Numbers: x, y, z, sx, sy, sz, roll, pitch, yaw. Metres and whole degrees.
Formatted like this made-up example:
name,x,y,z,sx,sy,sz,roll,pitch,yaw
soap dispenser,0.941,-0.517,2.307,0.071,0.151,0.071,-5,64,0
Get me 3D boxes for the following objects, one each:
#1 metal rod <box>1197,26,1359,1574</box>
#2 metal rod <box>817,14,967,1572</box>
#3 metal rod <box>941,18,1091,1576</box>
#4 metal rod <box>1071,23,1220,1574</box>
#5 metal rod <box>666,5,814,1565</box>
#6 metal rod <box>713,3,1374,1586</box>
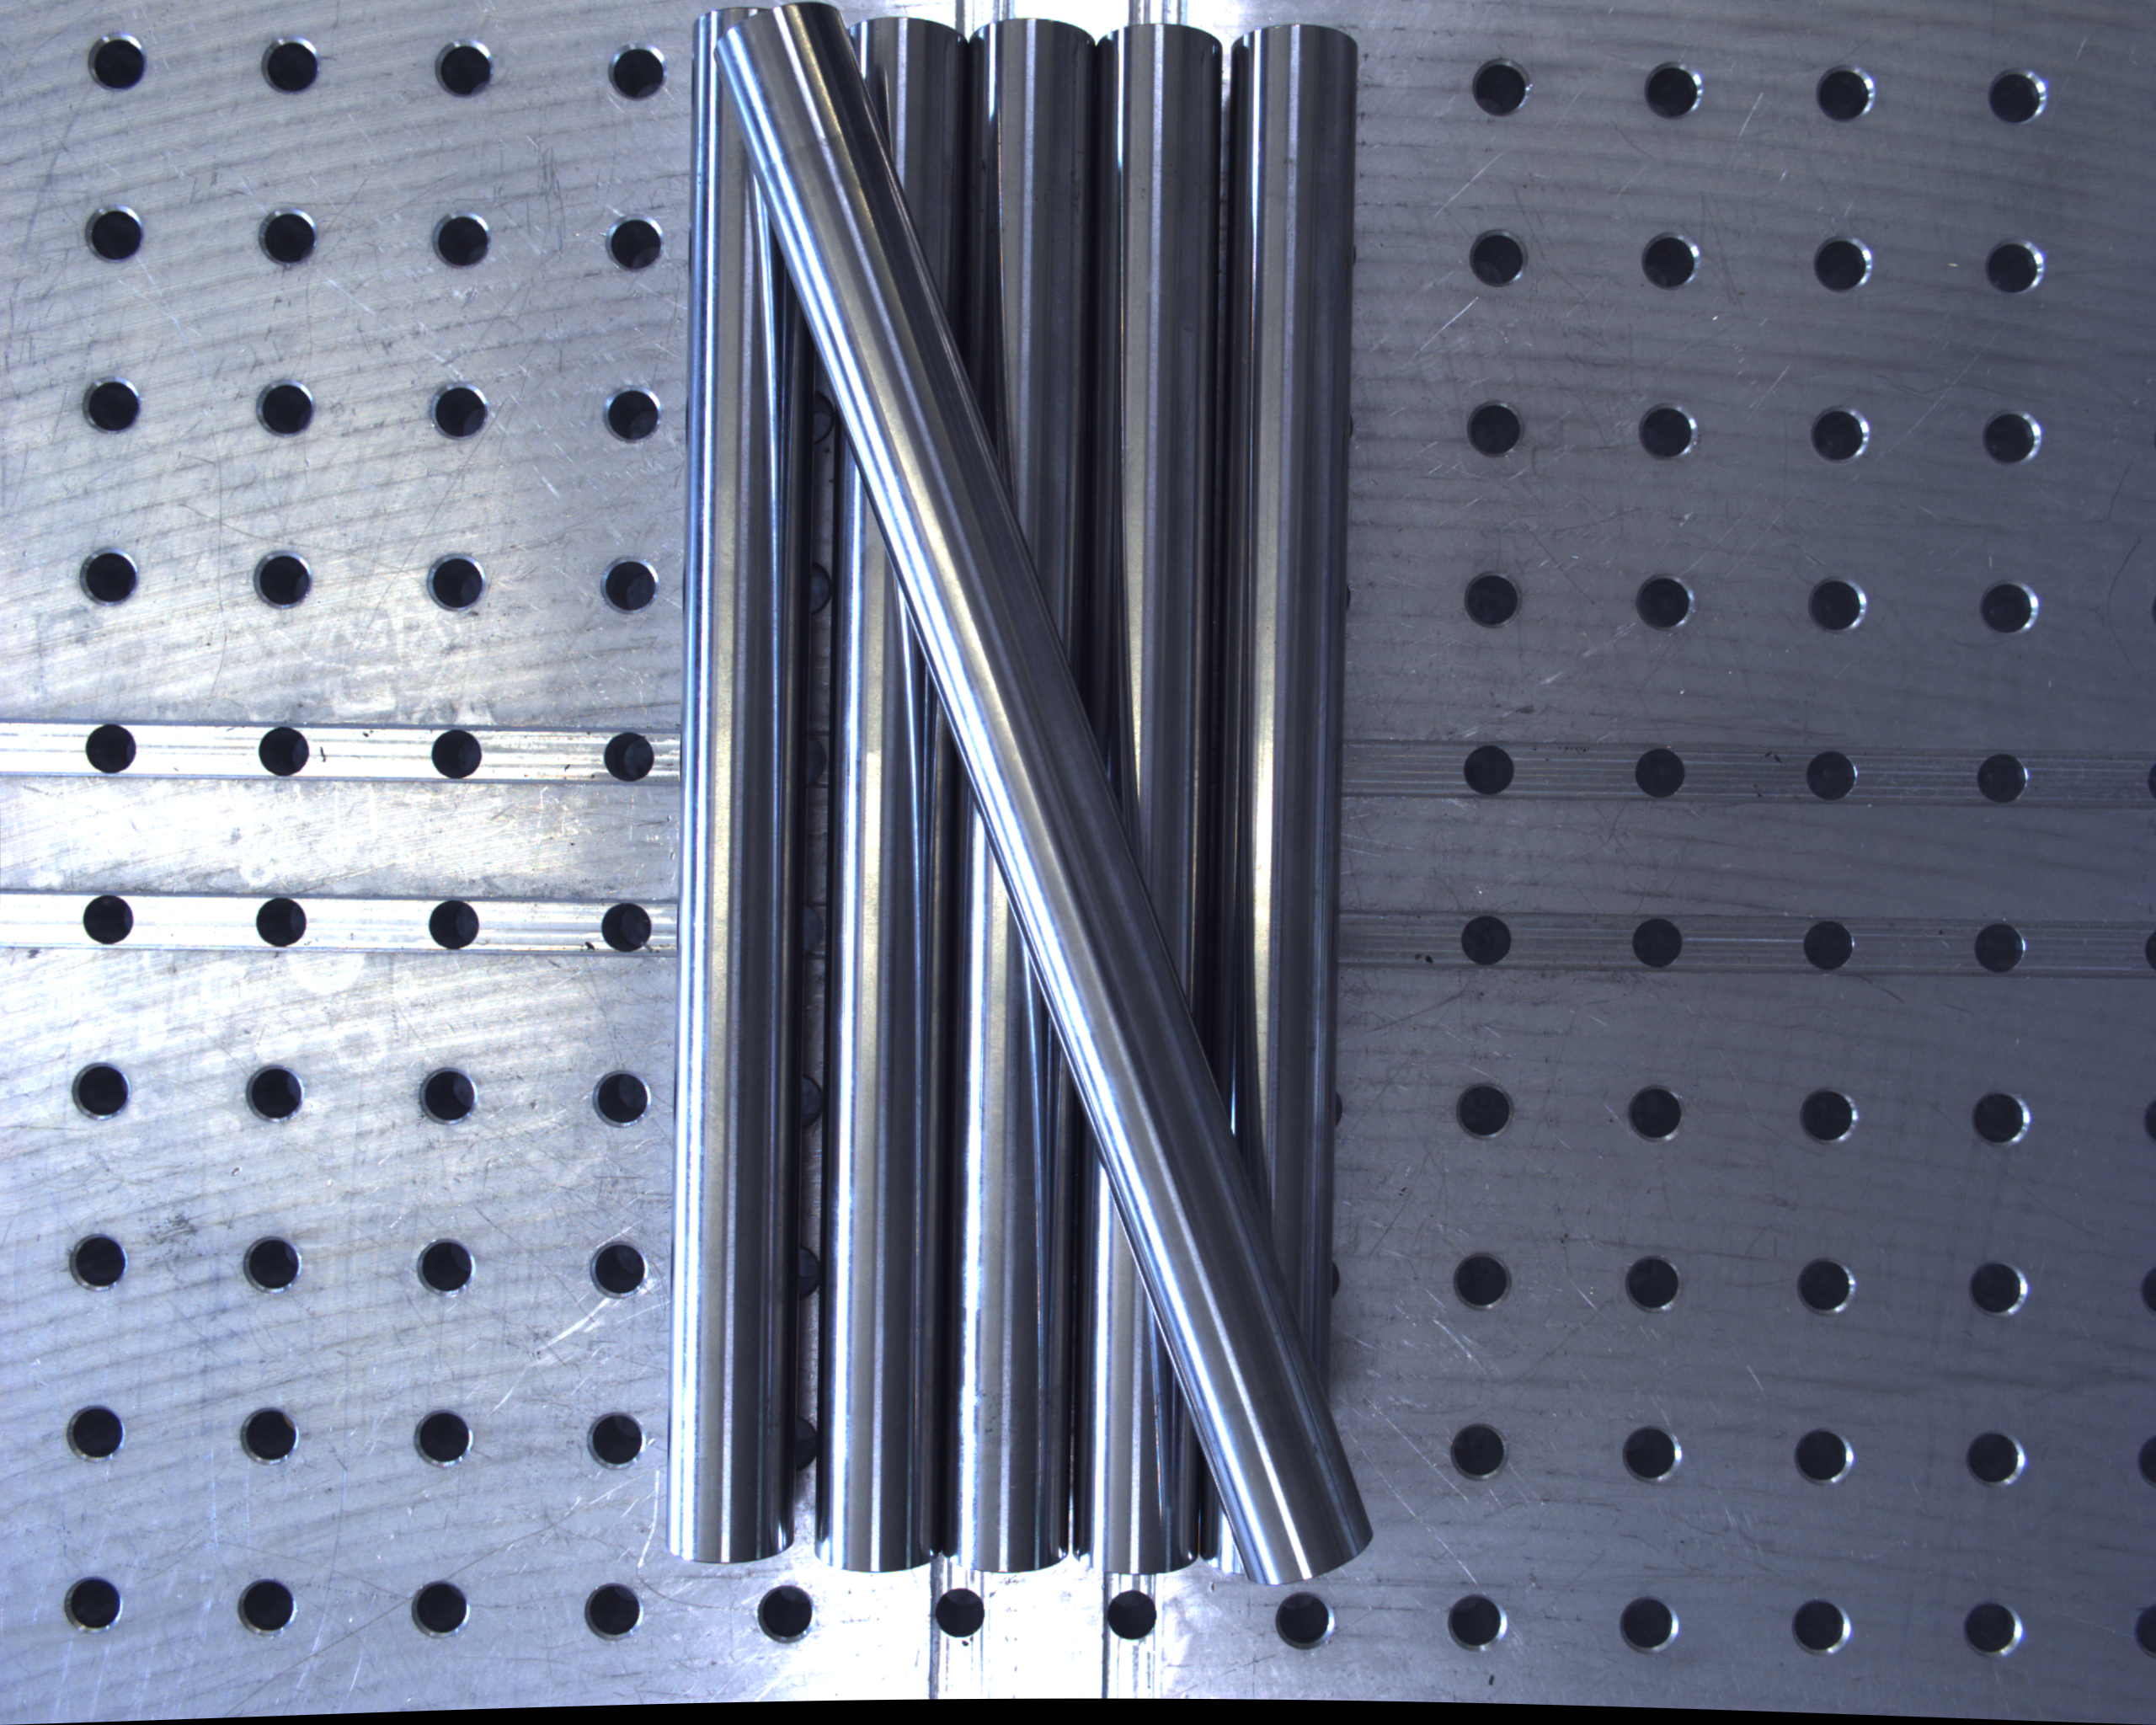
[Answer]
name,x,y,z,sx,sy,sz,roll,pitch,yaw
metal rod,0.040,-0.012,0.414,0.025,0.025,0.298,1,90,0
metal rod,-0.037,-0.013,0.412,0.025,0.025,0.298,1,90,0
metal rod,-0.012,-0.013,0.412,0.025,0.025,0.298,1,90,0
metal rod,0.013,-0.012,0.414,0.025,0.025,0.298,1,90,0
metal rod,-0.066,-0.015,0.412,0.025,0.025,0.298,1,90,0
metal rod,-0.006,-0.012,0.388,0.025,0.025,0.299,-19,90,0
